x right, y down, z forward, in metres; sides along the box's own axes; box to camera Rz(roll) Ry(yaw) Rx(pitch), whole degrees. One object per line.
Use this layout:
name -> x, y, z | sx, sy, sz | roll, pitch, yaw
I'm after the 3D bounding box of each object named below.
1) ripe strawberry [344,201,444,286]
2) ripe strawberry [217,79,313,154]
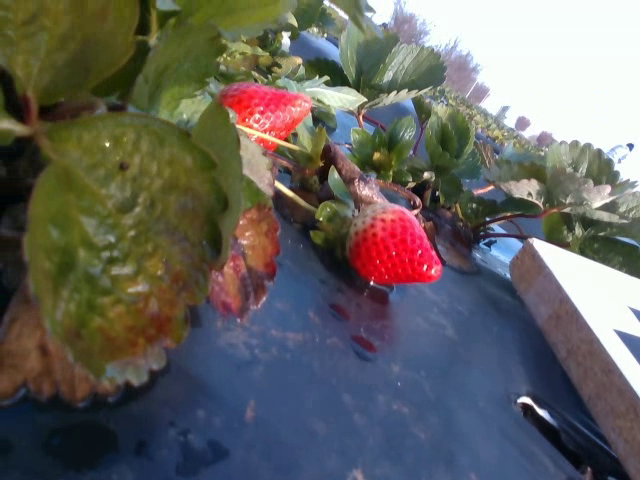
ripe strawberry -> 0.028, 0.003, 0.224 | 0.043, 0.029, 0.035 | 42, 29, 28
ripe strawberry -> -0.026, -0.058, 0.264 | 0.049, 0.032, 0.040 | -22, 45, -5
